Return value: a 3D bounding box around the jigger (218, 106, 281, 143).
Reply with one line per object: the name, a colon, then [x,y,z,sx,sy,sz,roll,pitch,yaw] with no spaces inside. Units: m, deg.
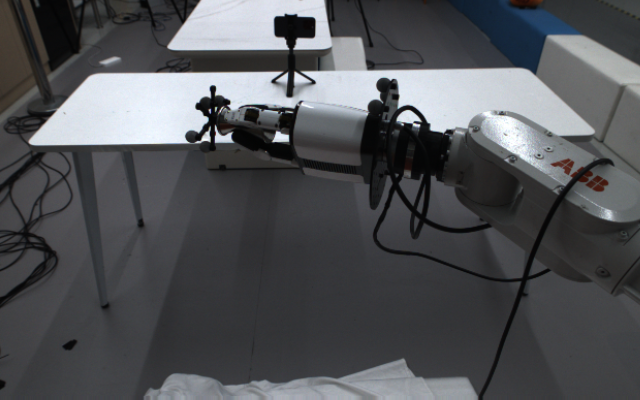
jigger: [-0.095,-0.106,0.639,0.071,0.043,0.043,10,35,16]
